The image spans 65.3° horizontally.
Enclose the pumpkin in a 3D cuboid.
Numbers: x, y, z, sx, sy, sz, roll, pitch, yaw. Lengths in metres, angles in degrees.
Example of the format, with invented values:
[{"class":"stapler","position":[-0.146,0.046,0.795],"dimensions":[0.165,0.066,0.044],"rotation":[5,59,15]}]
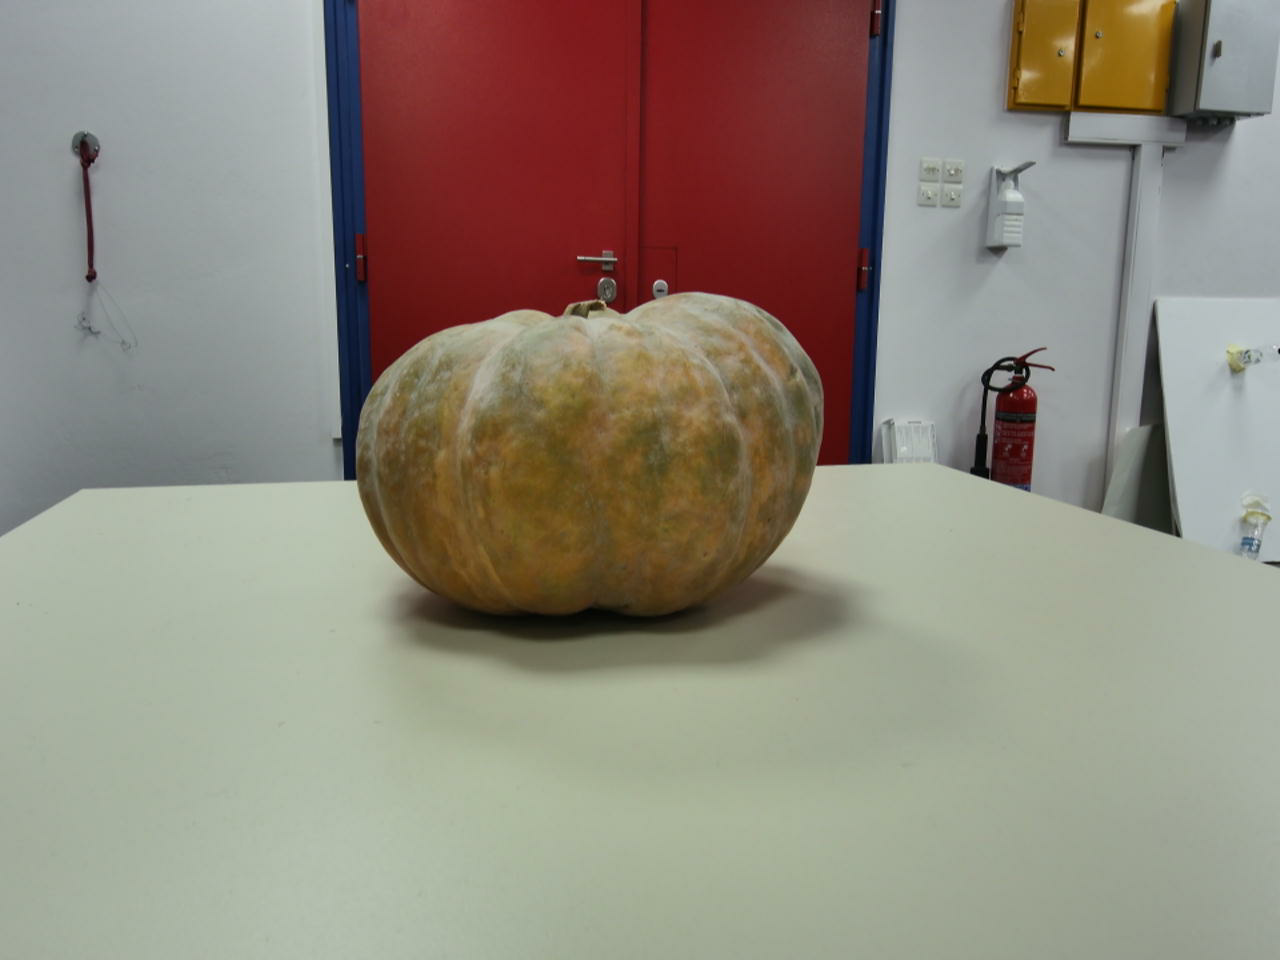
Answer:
[{"class":"pumpkin","position":[-0.030,-0.018,0.548],"dimensions":[0.252,0.168,0.252],"rotation":[0,8,0]}]
